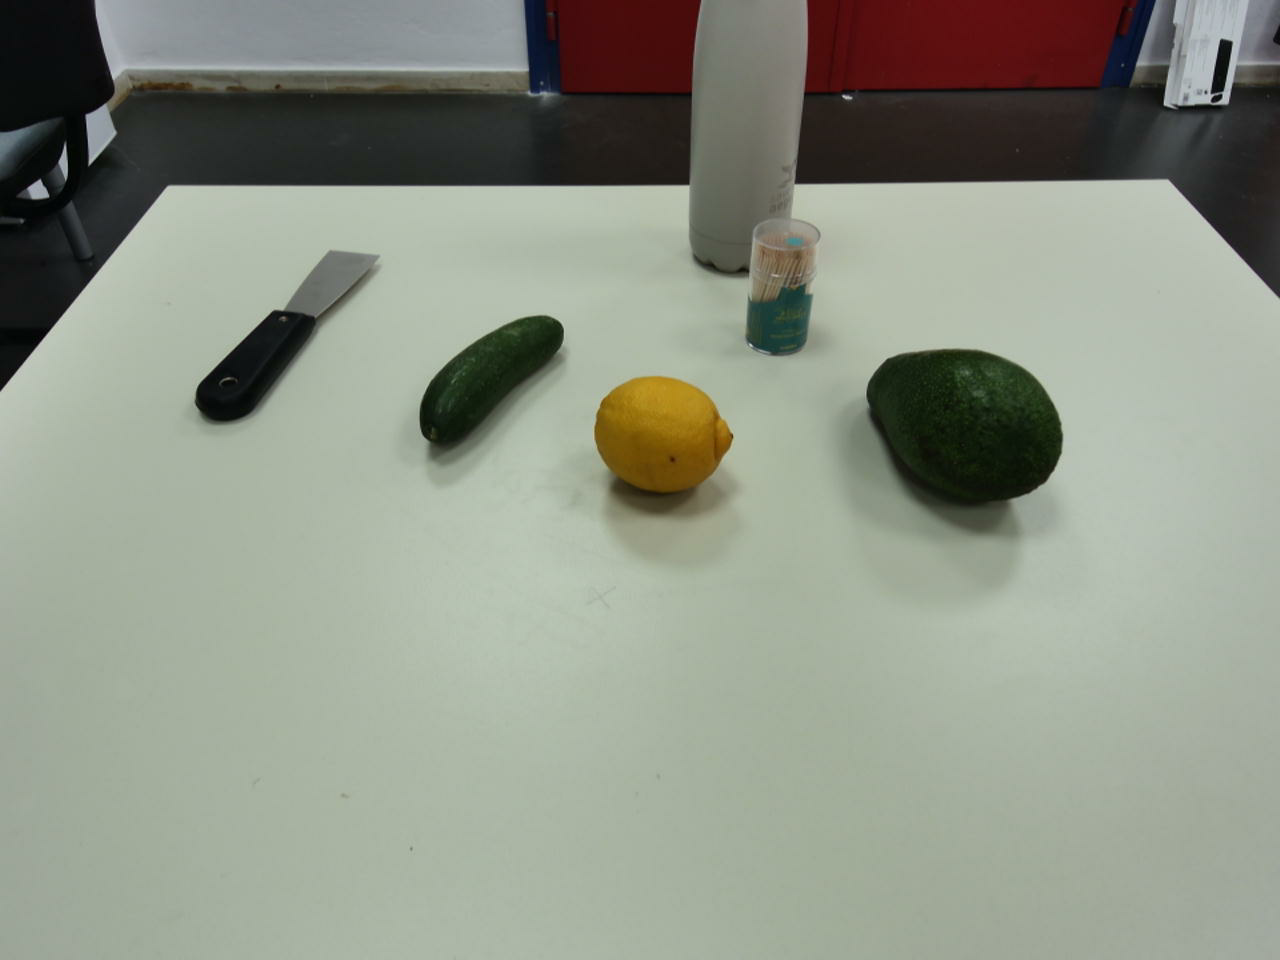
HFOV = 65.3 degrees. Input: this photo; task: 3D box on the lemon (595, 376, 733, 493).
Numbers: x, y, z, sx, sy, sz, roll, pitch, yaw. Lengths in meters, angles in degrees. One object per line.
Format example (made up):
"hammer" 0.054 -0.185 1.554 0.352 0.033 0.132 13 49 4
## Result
"lemon" 0.011 -0.023 0.520 0.067 0.059 0.060 29 48 32
